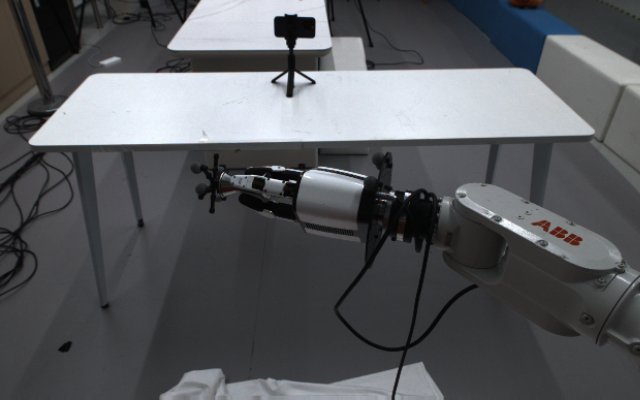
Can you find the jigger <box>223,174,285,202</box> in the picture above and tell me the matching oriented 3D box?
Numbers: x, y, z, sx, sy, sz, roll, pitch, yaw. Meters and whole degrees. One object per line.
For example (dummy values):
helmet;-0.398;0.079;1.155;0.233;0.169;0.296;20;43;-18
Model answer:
jigger;-0.100;-0.024;0.705;0.071;0.043;0.043;4;34;15
